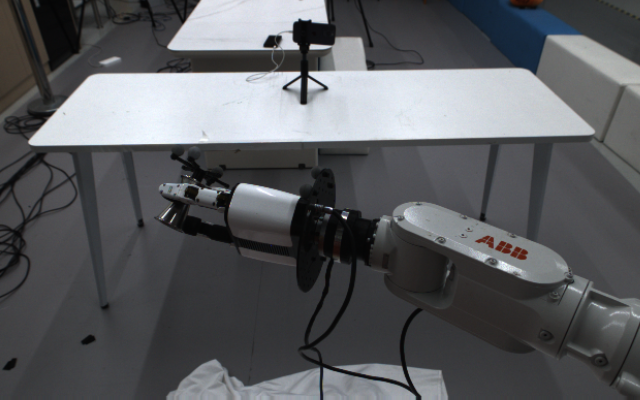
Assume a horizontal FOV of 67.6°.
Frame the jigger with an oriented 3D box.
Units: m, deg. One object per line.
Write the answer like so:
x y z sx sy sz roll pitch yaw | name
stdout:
-0.187 0.003 0.649 0.043 0.043 0.071 20 74 24 | jigger
